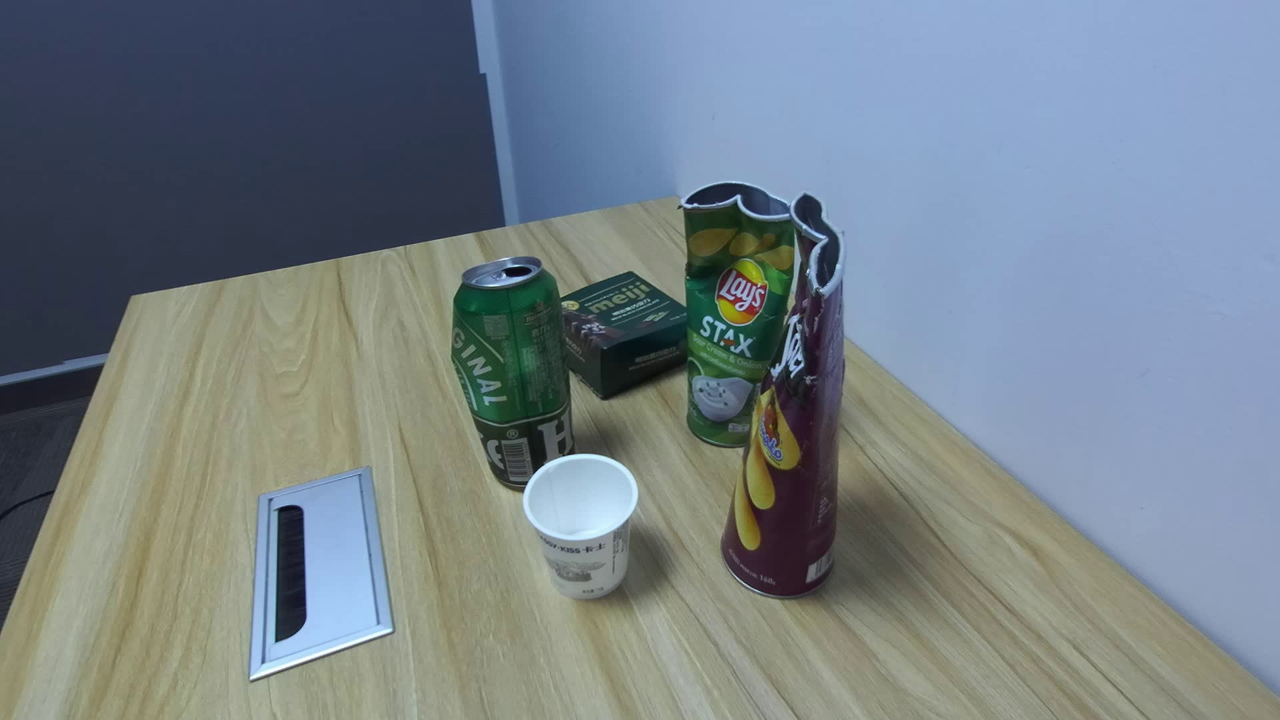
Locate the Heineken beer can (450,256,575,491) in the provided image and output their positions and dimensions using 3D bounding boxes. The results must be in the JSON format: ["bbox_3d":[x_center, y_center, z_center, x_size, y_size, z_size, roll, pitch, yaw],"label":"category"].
[{"bbox_3d":[-0.087,0.012,0.510,0.068,0.168,0.069,5,31,17],"label":"Heineken beer can"}]

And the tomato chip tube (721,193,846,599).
[{"bbox_3d":[0.090,0.032,0.408,0.090,0.236,0.077,-32,44,-30],"label":"tomato chip tube"}]

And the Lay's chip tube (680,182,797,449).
[{"bbox_3d":[0.070,-0.029,0.526,0.077,0.201,0.069,1,35,8],"label":"Lay's chip tube"}]

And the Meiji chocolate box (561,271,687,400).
[{"bbox_3d":[-0.019,-0.028,0.661,0.116,0.058,0.122,-22,41,-30],"label":"Meiji chocolate box"}]

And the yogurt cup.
[{"bbox_3d":[-0.035,0.110,0.451,0.072,0.068,0.072,-1,35,1],"label":"yogurt cup"}]
